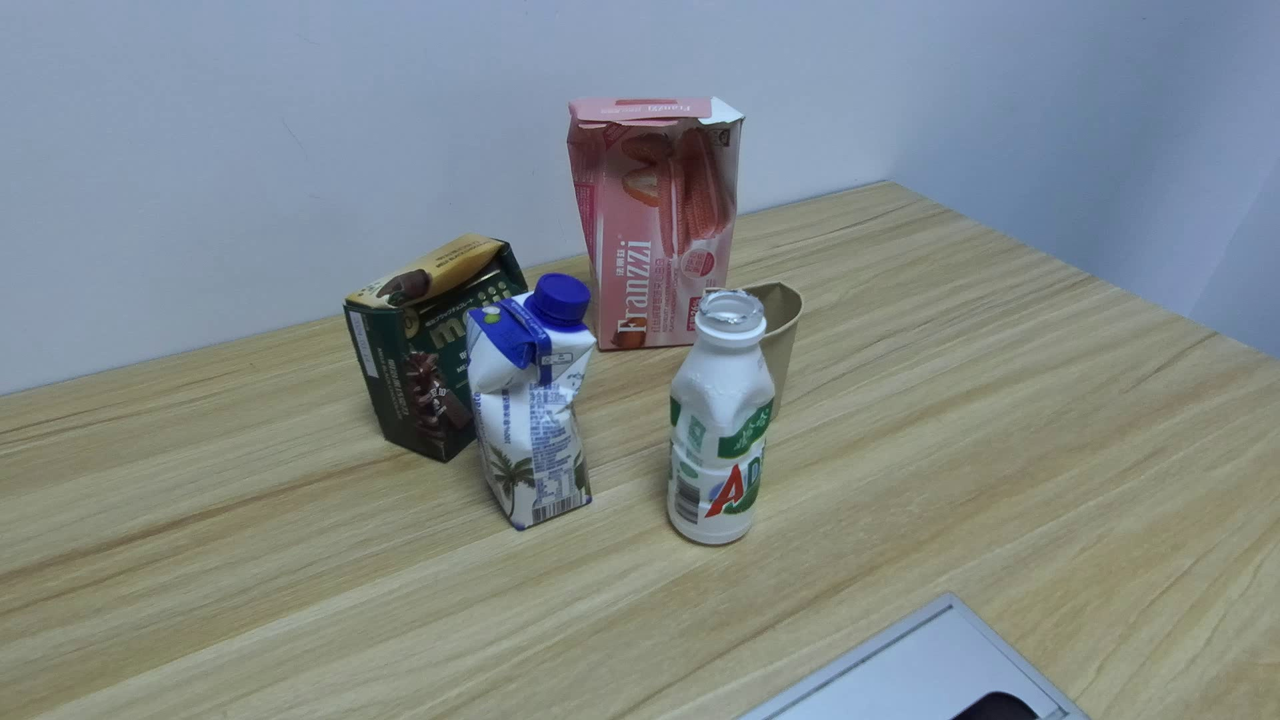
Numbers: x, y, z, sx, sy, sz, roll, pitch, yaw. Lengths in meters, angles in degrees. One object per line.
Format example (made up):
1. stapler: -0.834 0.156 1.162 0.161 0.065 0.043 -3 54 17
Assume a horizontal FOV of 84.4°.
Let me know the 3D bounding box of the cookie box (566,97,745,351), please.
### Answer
1. cookie box: 0.009 -0.094 0.521 0.118 0.184 0.055 -1 35 -1

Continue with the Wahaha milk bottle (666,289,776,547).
1. Wahaha milk bottle: 0.042 0.032 0.376 0.055 0.149 0.055 -1 36 1

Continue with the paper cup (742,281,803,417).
1. paper cup: 0.076 -0.001 0.479 0.072 0.084 0.066 -9 35 -15

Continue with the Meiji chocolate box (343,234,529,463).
1. Meiji chocolate box: -0.126 -0.011 0.476 0.058 0.111 0.113 10 34 25

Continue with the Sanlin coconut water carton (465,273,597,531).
1. Sanlin coconut water carton: -0.060 0.024 0.395 0.070 0.144 0.060 -17 40 -25
